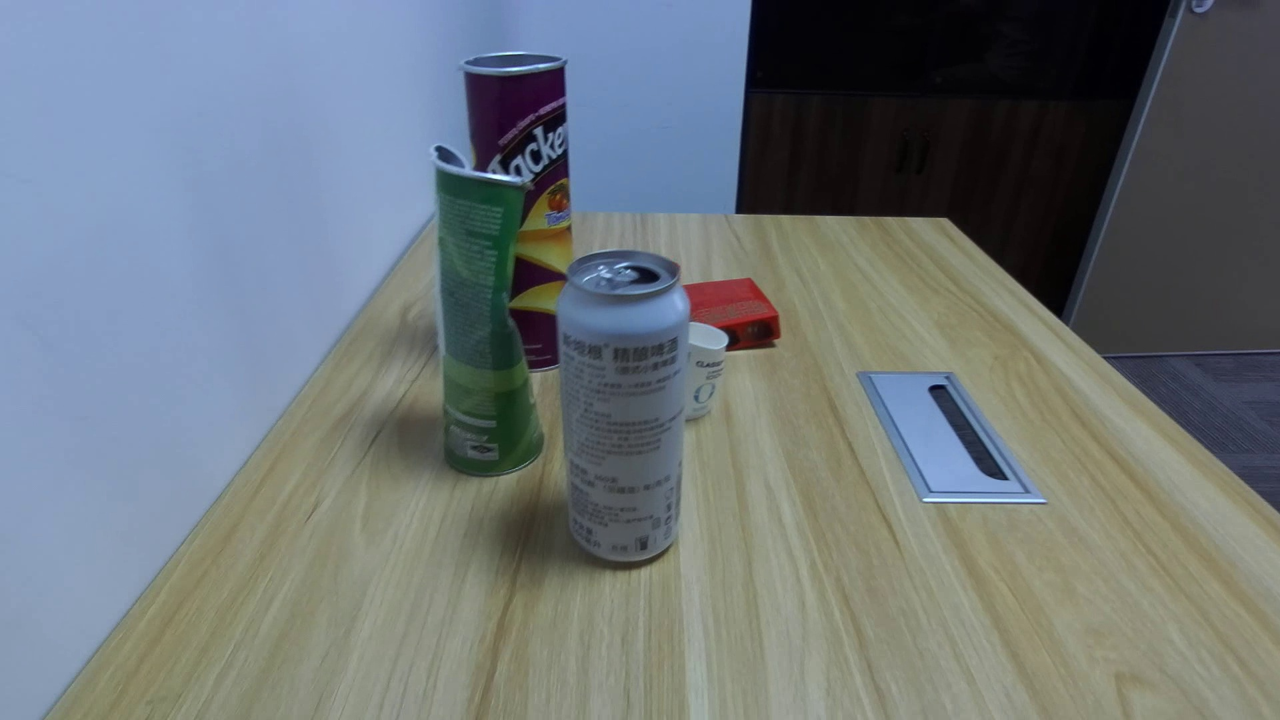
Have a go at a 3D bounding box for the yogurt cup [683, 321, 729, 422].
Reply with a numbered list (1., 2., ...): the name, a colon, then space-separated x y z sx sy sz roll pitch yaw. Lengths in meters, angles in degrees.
1. yogurt cup: 0.031 0.000 0.523 0.075 0.071 0.054 18 36 23

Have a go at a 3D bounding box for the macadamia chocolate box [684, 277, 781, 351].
1. macadamia chocolate box: 0.056 -0.041 0.638 0.126 0.056 0.112 1 45 -8

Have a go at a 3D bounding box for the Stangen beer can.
1. Stangen beer can: -0.009 0.030 0.382 0.067 0.171 0.067 0 30 0

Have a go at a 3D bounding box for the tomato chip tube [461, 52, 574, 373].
1. tomato chip tube: -0.089 -0.107 0.552 0.080 0.234 0.076 -18 32 -30

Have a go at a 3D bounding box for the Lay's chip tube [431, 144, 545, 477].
1. Lay's chip tube: -0.100 -0.025 0.445 0.077 0.201 0.069 11 31 13
